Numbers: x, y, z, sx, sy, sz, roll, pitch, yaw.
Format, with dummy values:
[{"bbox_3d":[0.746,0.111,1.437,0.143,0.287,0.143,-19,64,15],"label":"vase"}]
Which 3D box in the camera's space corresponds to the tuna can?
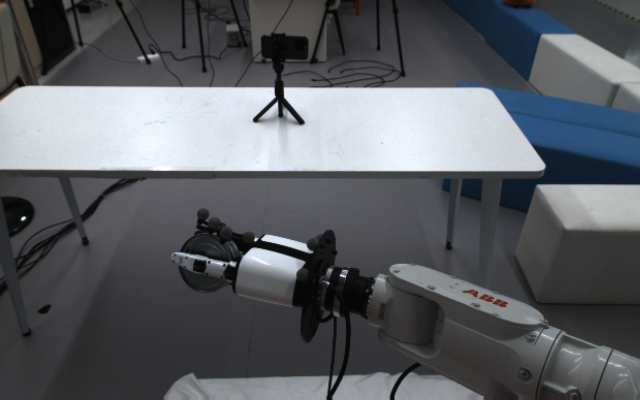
[{"bbox_3d":[-0.158,0.090,0.703,0.085,0.085,0.034,13,3,16],"label":"tuna can"}]
